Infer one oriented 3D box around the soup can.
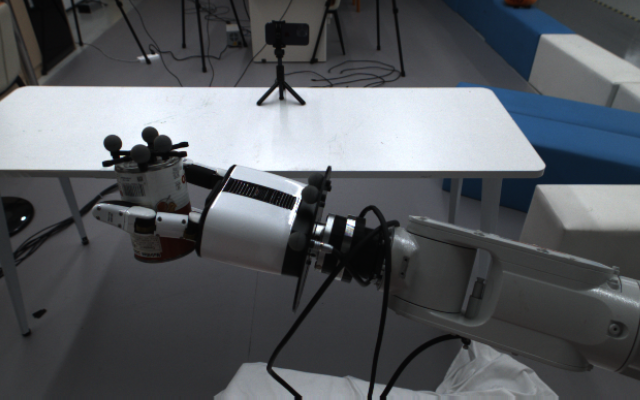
[{"bbox_3d":[-0.168,0.007,0.507,0.067,0.101,0.067,-4,21,1],"label":"soup can"}]
